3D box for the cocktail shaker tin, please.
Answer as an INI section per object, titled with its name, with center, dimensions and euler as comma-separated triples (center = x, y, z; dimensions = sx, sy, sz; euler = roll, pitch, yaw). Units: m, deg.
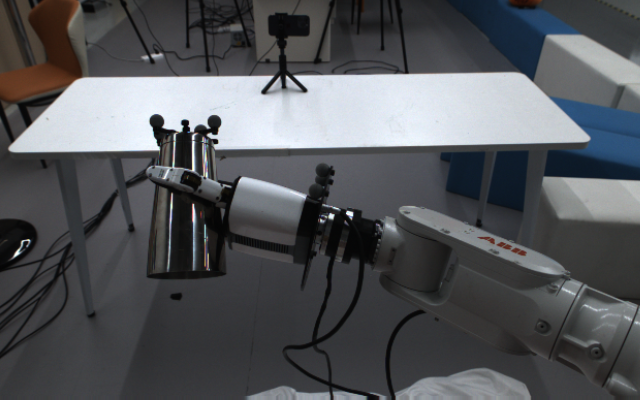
[cocktail shaker tin]
center = -0.163, 0.009, 0.594
dimensions = 0.093, 0.093, 0.170
euler = -3, 76, -7
